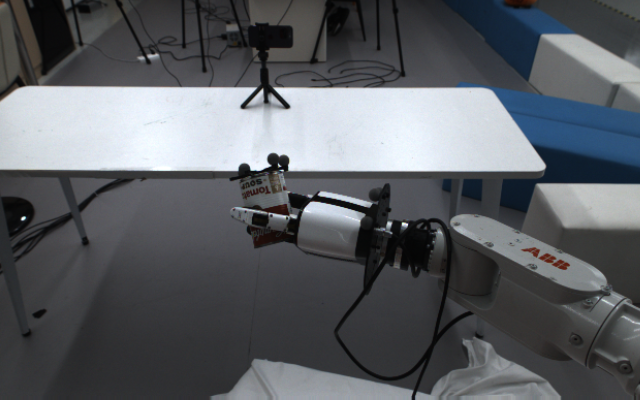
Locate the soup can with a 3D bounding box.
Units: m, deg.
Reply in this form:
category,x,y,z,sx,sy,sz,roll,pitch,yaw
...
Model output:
category,x,y,z,sx,sy,sz,roll,pitch,yaw
soup can,-0.075,0.015,0.711,0.067,0.101,0.067,-14,-3,-1
